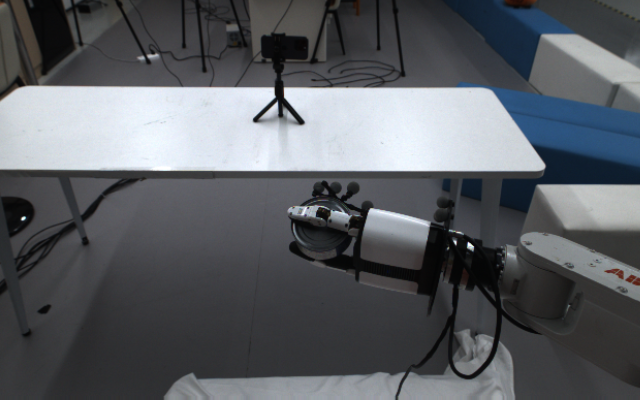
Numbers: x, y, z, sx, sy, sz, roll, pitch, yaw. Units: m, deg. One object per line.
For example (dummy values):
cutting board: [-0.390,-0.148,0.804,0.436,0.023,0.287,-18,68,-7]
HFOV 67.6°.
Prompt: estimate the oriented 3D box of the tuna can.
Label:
tuna can: [0.005,0.038,0.677,0.085,0.034,0.085,-4,56,6]
